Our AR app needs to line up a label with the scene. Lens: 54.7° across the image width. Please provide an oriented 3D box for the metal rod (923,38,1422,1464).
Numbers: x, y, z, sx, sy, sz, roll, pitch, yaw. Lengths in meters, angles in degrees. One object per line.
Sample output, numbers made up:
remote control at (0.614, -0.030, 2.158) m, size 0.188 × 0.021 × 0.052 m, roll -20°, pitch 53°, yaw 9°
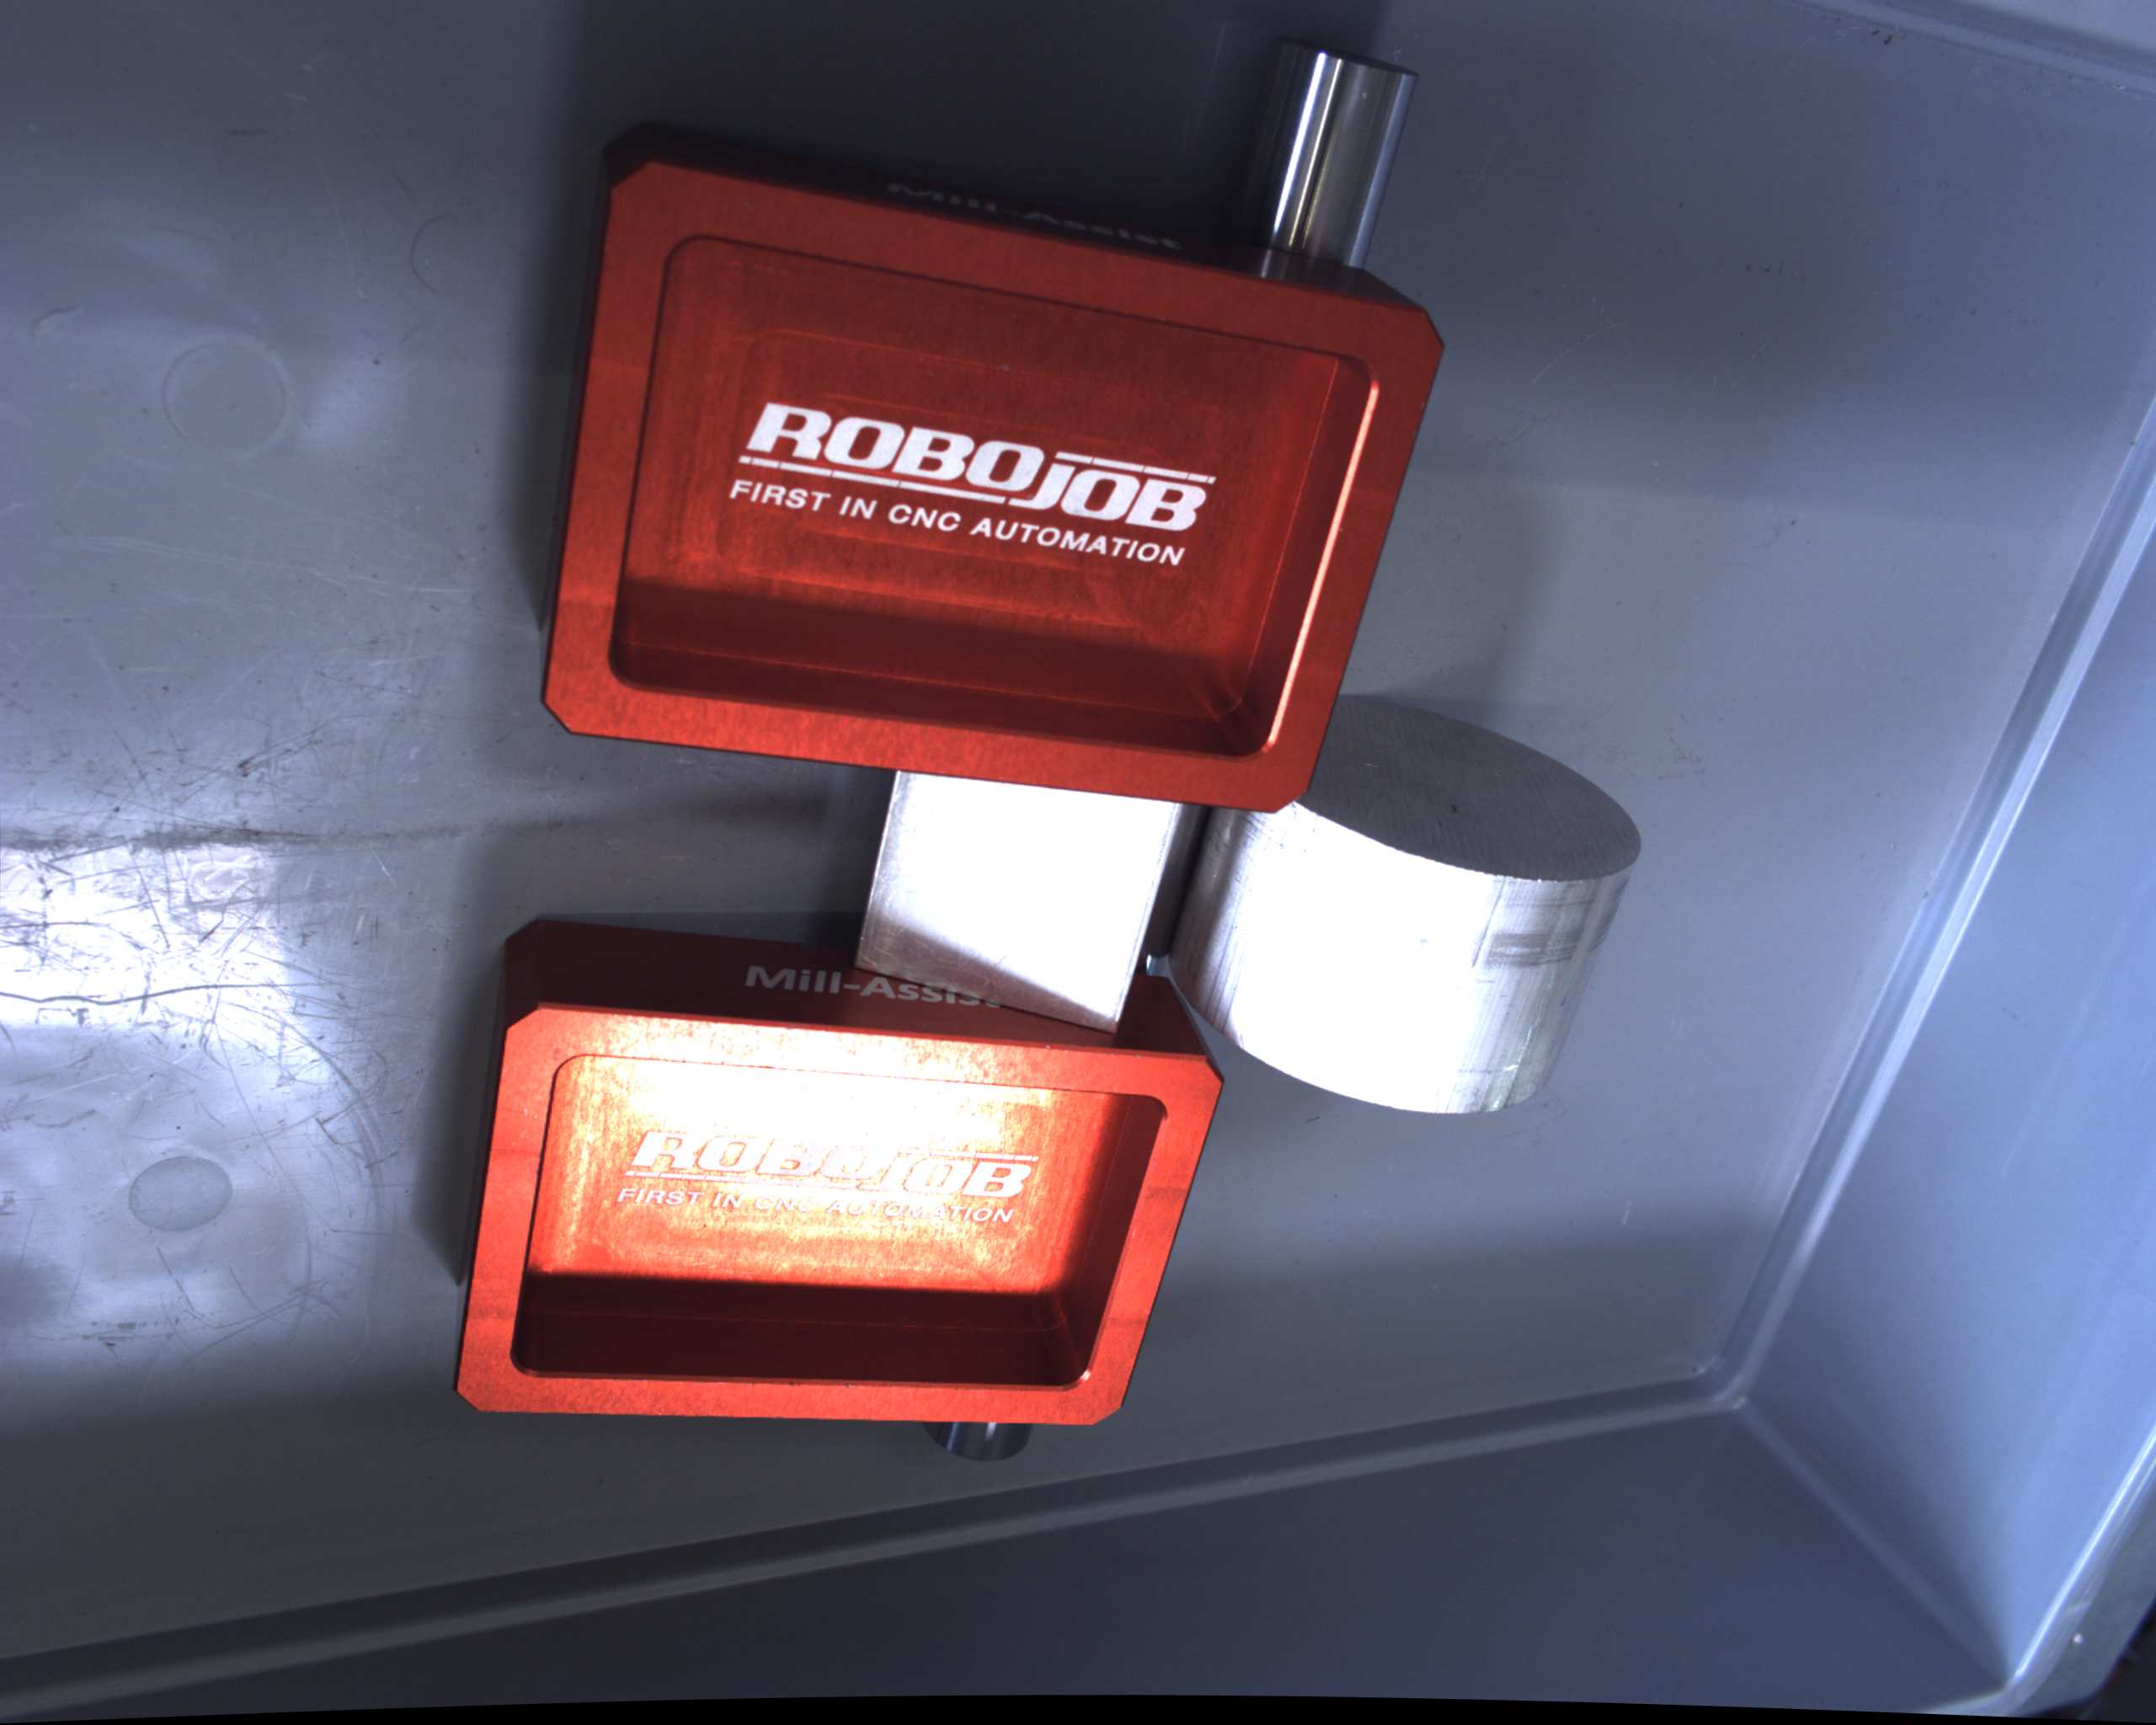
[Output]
metal rod at (0.011, -0.004, 0.410) m, size 0.025 × 0.025 × 0.298 m, roll 0°, pitch 118°, yaw -29°

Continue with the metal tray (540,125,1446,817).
metal tray at (-0.016, -0.060, 0.340) m, size 0.131 × 0.030 × 0.089 m, roll 6°, pitch 116°, yaw -18°

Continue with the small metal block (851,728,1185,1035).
small metal block at (-0.010, -0.001, 0.386) m, size 0.050 × 0.025 × 0.050 m, roll 15°, pitch 114°, yaw -1°

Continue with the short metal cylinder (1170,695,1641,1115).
short metal cylinder at (0.063, 0.006, 0.410) m, size 0.081 × 0.080 × 0.050 m, roll 0°, pitch 119°, yaw -29°

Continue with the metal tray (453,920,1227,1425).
metal tray at (-0.047, 0.062, 0.399) m, size 0.131 × 0.030 × 0.089 m, roll 6°, pitch 116°, yaw -18°
